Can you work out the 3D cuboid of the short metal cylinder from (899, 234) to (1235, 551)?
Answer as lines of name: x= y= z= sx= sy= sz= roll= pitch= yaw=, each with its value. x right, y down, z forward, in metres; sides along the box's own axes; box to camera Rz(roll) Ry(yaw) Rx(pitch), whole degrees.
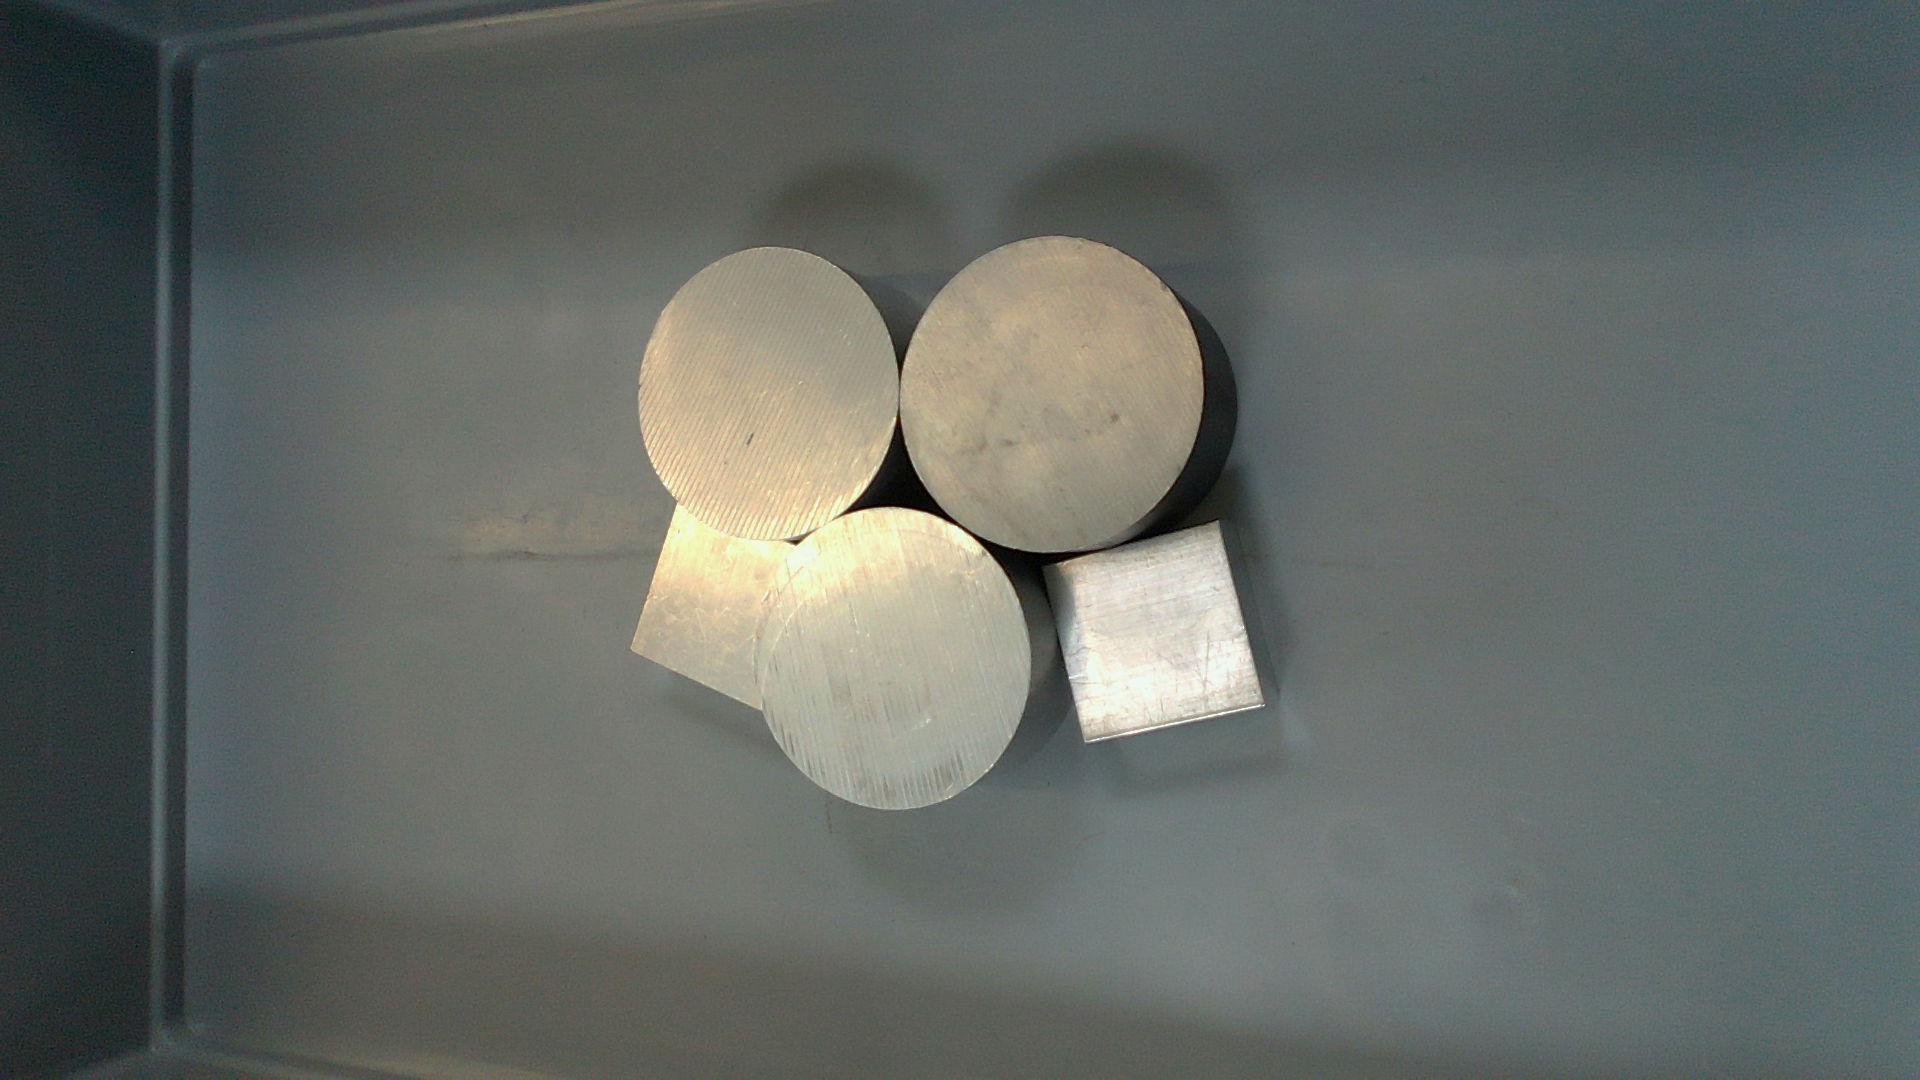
short metal cylinder: x=0.030 y=-0.037 z=0.370 sx=0.080 sy=0.050 sz=0.080 roll=0 pitch=90 yaw=20

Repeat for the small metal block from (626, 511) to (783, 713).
small metal block: x=-0.067 y=0.019 z=0.419 sx=0.050 sy=0.025 sz=0.050 roll=22 pitch=97 yaw=19

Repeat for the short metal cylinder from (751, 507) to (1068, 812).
short metal cylinder: x=-0.011 y=0.031 z=0.385 sx=0.080 sy=0.050 sz=0.080 roll=0 pitch=90 yaw=20

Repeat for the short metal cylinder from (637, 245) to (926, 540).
short metal cylinder: x=-0.045 y=-0.040 z=0.397 sx=0.080 sy=0.050 sz=0.080 roll=0 pitch=90 yaw=20

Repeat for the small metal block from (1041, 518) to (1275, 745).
small metal block: x=0.055 y=0.025 z=0.375 sx=0.050 sy=0.025 sz=0.050 roll=-15 pitch=85 yaw=19
